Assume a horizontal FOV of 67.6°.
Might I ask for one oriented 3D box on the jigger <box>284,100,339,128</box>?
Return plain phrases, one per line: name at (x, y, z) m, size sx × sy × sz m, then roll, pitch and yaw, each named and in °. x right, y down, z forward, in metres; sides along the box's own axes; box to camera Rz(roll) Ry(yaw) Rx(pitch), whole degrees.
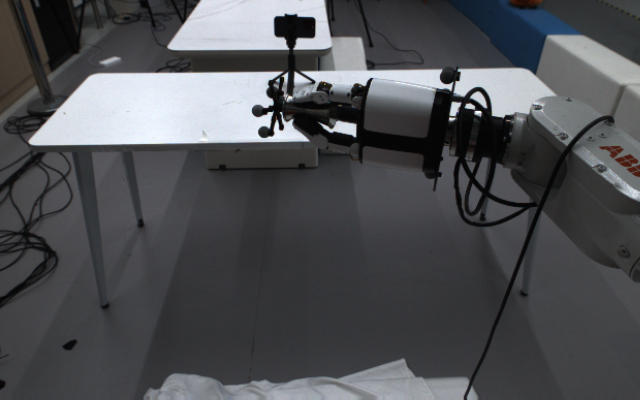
jigger at (-0.008, -0.130, 0.671) m, size 0.071 × 0.043 × 0.043 m, roll 9°, pitch 35°, yaw 16°
